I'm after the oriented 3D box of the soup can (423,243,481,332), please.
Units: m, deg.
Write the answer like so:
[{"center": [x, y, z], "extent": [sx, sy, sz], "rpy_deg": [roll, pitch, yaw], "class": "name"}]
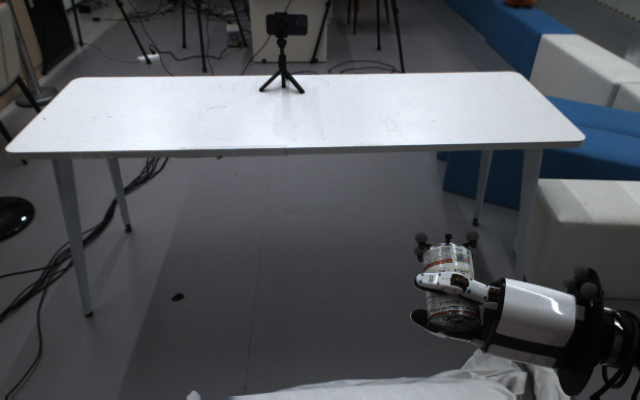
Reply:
[{"center": [0.176, 0.116, 0.646], "extent": [0.067, 0.067, 0.101], "rpy_deg": [2, 56, 1], "class": "soup can"}]
